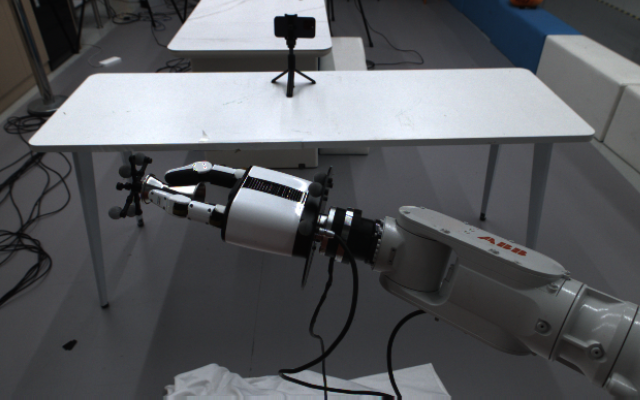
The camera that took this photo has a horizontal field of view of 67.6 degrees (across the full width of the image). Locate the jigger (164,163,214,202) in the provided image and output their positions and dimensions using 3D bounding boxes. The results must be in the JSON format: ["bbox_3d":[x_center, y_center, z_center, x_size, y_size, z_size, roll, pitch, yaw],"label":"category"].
[{"bbox_3d":[-0.179,-0.010,0.613,0.071,0.043,0.043,11,35,4],"label":"jigger"}]
